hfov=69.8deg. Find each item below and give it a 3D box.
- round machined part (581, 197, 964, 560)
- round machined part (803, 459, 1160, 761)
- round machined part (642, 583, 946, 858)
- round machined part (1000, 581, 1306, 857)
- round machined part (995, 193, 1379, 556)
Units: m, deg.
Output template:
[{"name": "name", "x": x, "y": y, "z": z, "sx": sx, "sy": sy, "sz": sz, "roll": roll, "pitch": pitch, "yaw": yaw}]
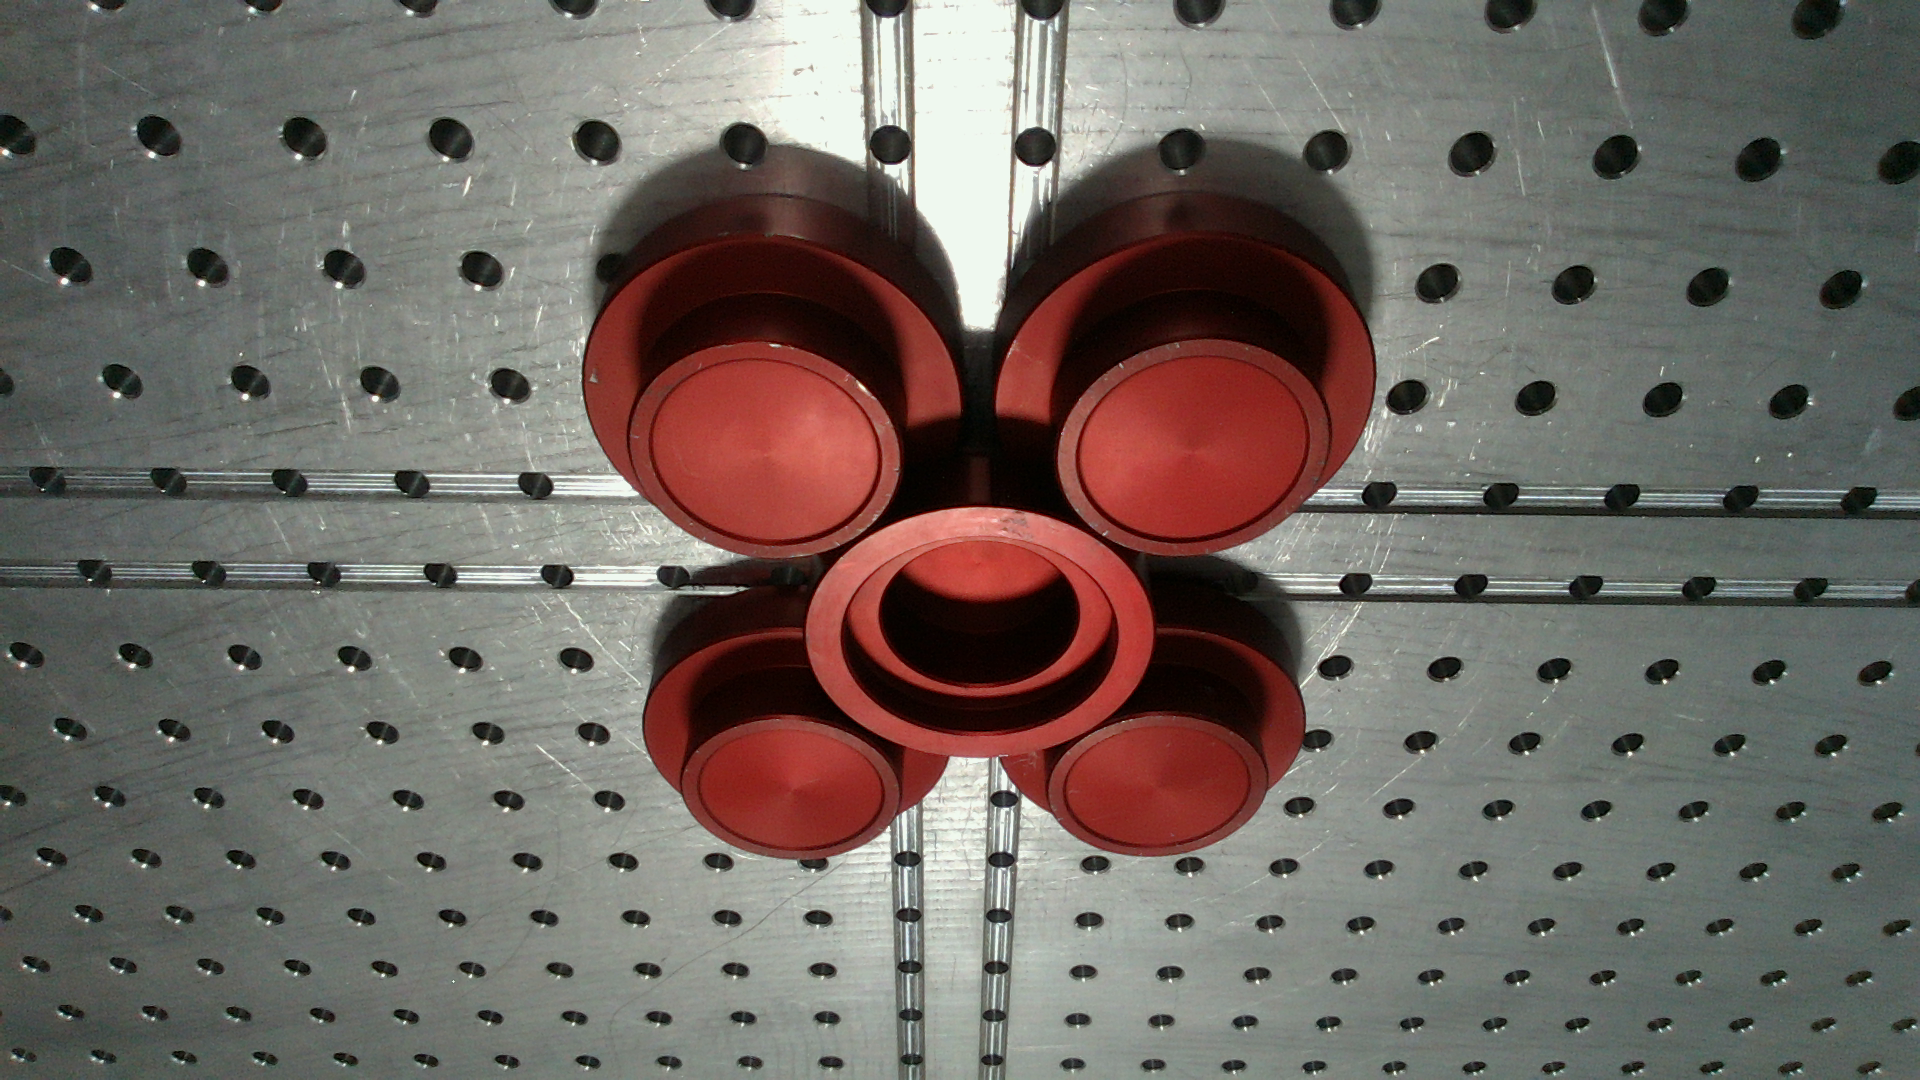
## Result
[{"name": "round machined part", "x": -0.048, "y": -0.034, "z": 0.353, "sx": 0.098, "sy": 0.042, "sz": 0.098, "roll": 0, "pitch": 130, "yaw": 0}, {"name": "round machined part", "x": 0.006, "y": 0.016, "z": 0.393, "sx": 0.098, "sy": 0.042, "sz": 0.098, "roll": 0, "pitch": 130, "yaw": 0}, {"name": "round machined part", "x": -0.052, "y": 0.063, "z": 0.436, "sx": 0.098, "sy": 0.042, "sz": 0.098, "roll": 0, "pitch": 130, "yaw": 0}, {"name": "round machined part", "x": 0.060, "y": 0.063, "z": 0.435, "sx": 0.098, "sy": 0.042, "sz": 0.098, "roll": 0, "pitch": 130, "yaw": 0}, {"name": "round machined part", "x": 0.058, "y": -0.035, "z": 0.353, "sx": 0.098, "sy": 0.042, "sz": 0.098, "roll": 0, "pitch": 130, "yaw": 0}]
